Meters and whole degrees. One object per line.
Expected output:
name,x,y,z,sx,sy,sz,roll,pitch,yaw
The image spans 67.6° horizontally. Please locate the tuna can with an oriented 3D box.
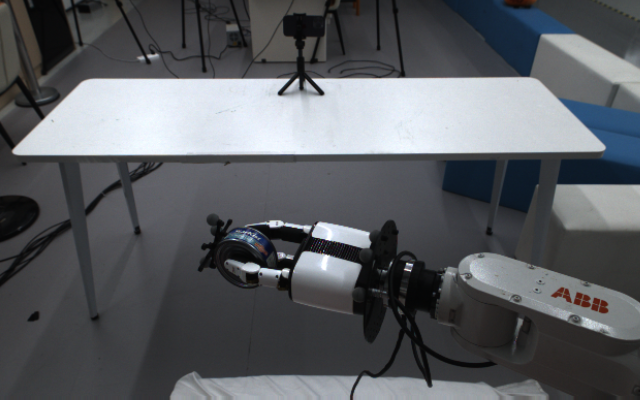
tuna can,-0.102,0.085,0.674,0.085,0.085,0.034,13,30,15
